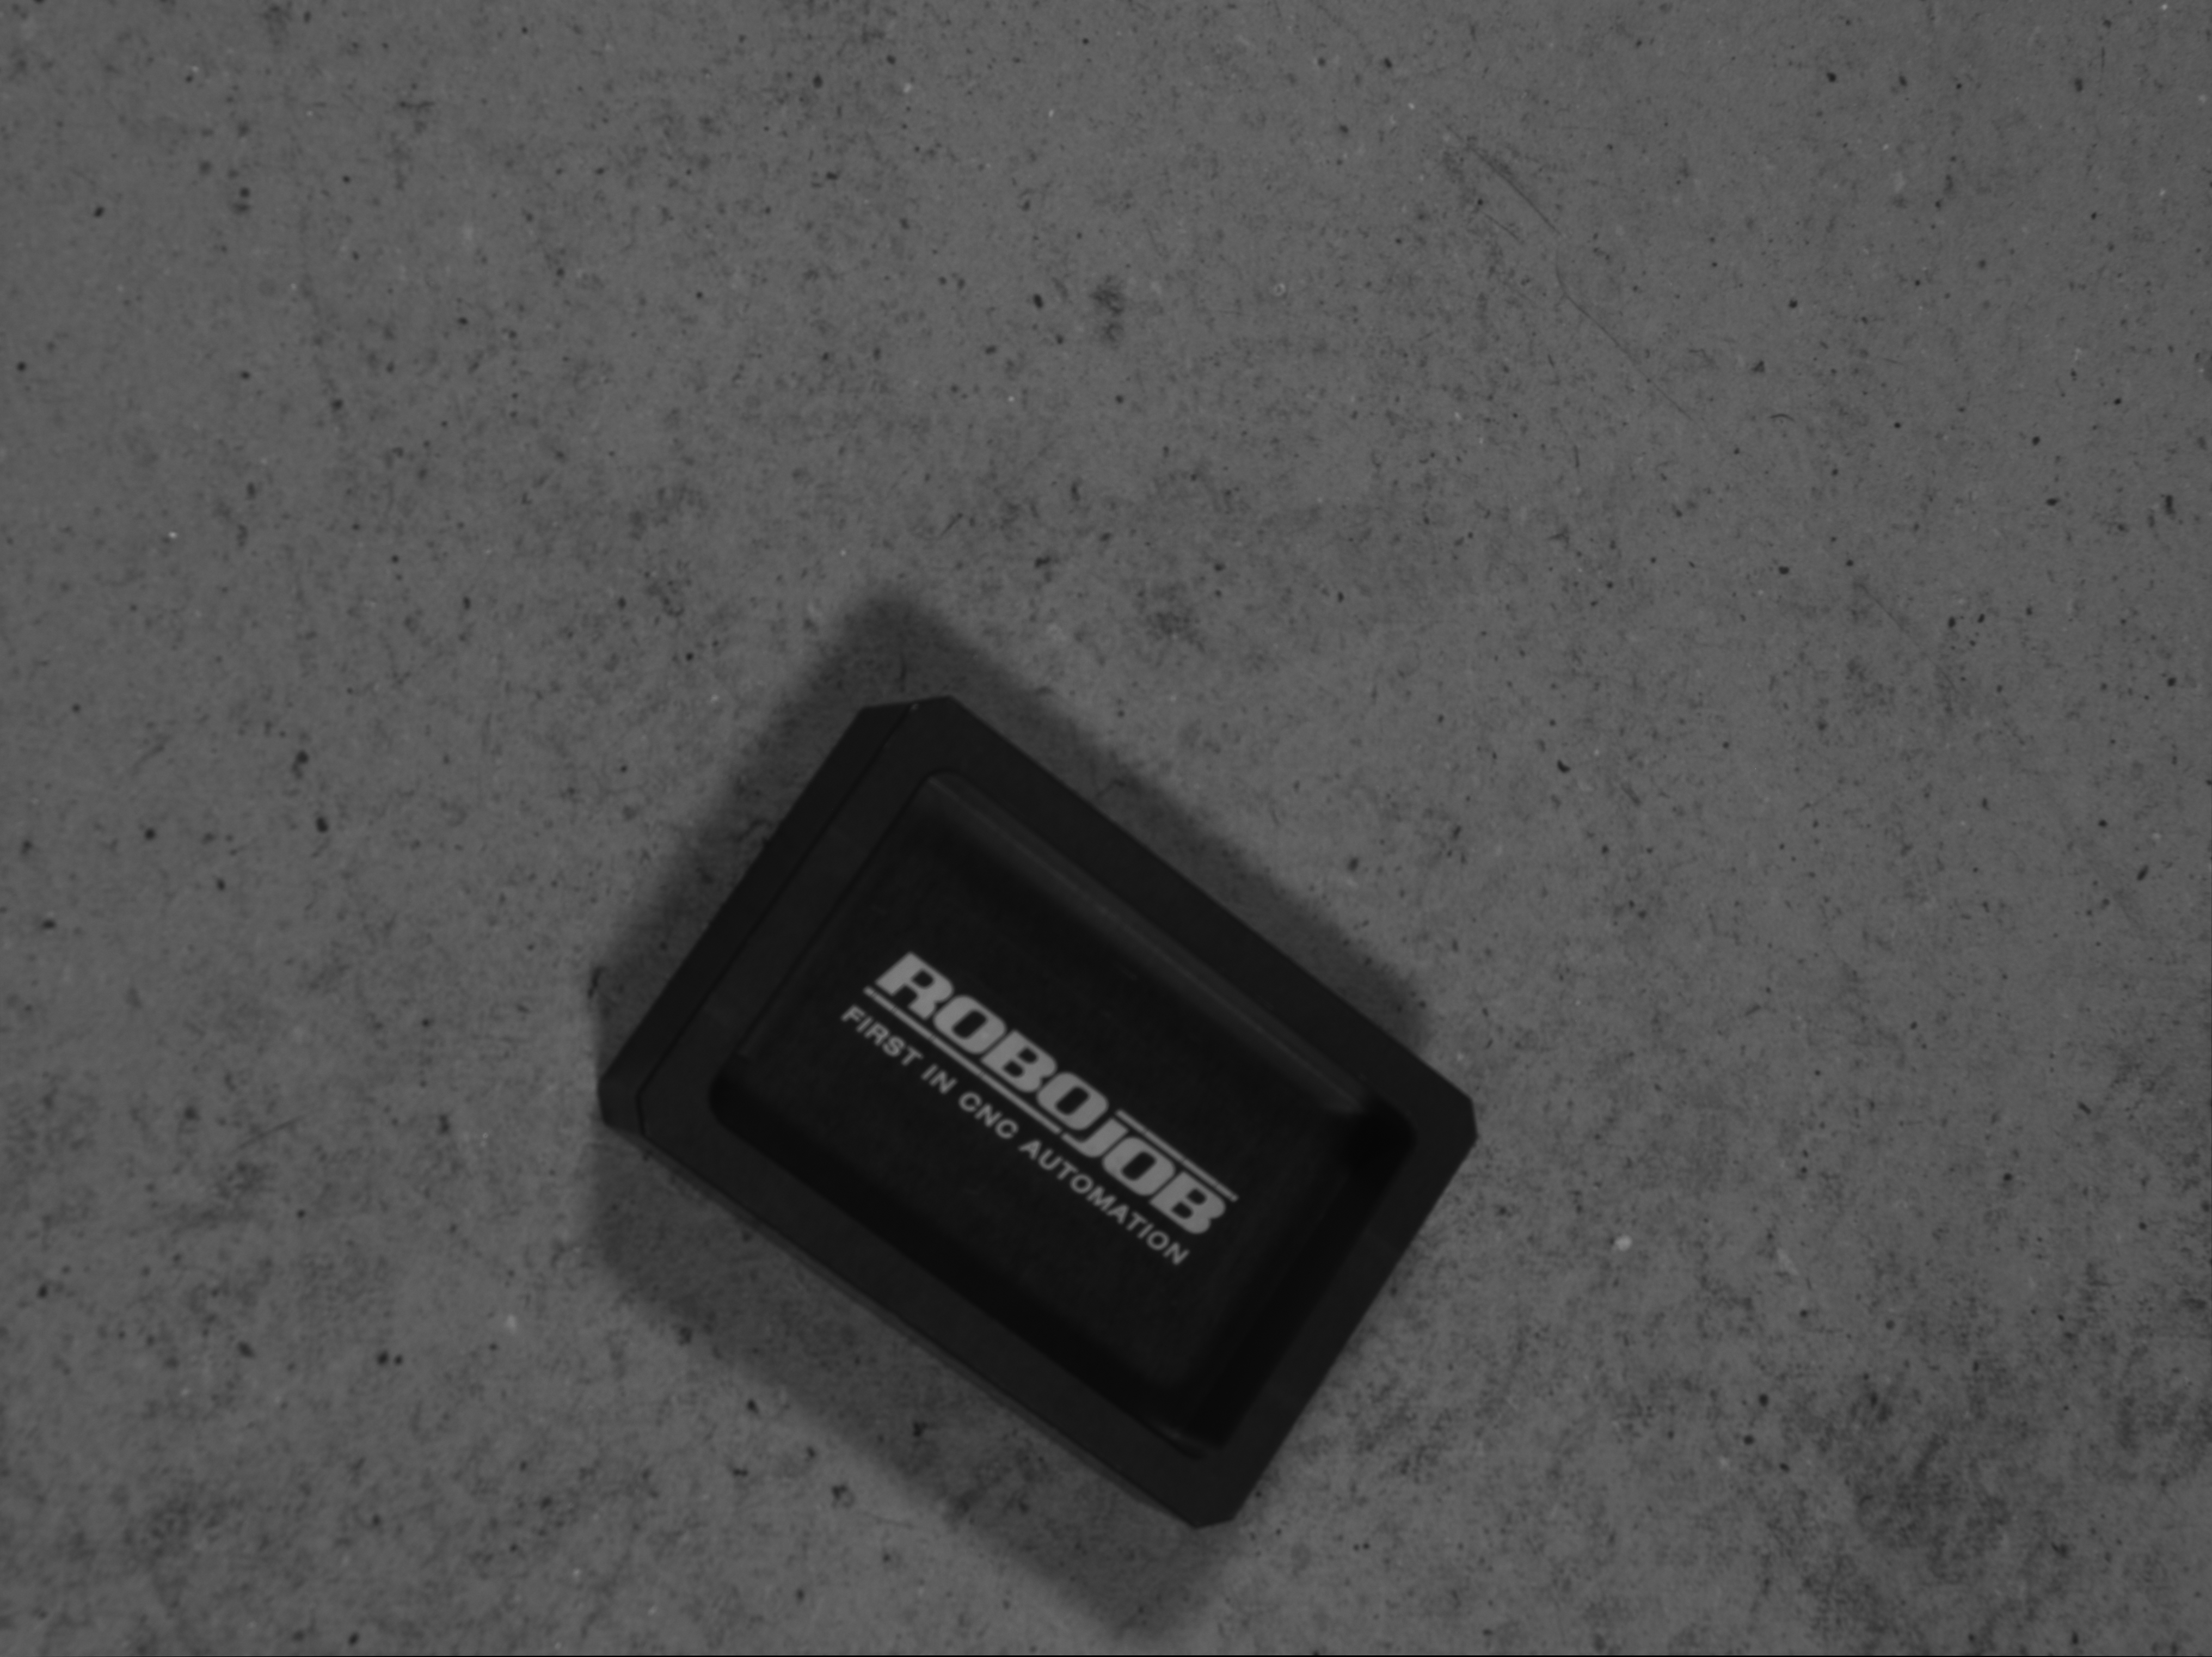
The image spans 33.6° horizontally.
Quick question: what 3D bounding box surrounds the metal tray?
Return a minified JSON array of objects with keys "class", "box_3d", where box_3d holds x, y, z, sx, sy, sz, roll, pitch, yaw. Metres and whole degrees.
[{"class":"metal tray","box_3d":[-0.007,0.049,0.638,0.130,0.030,0.090,38,78,-16]}]
